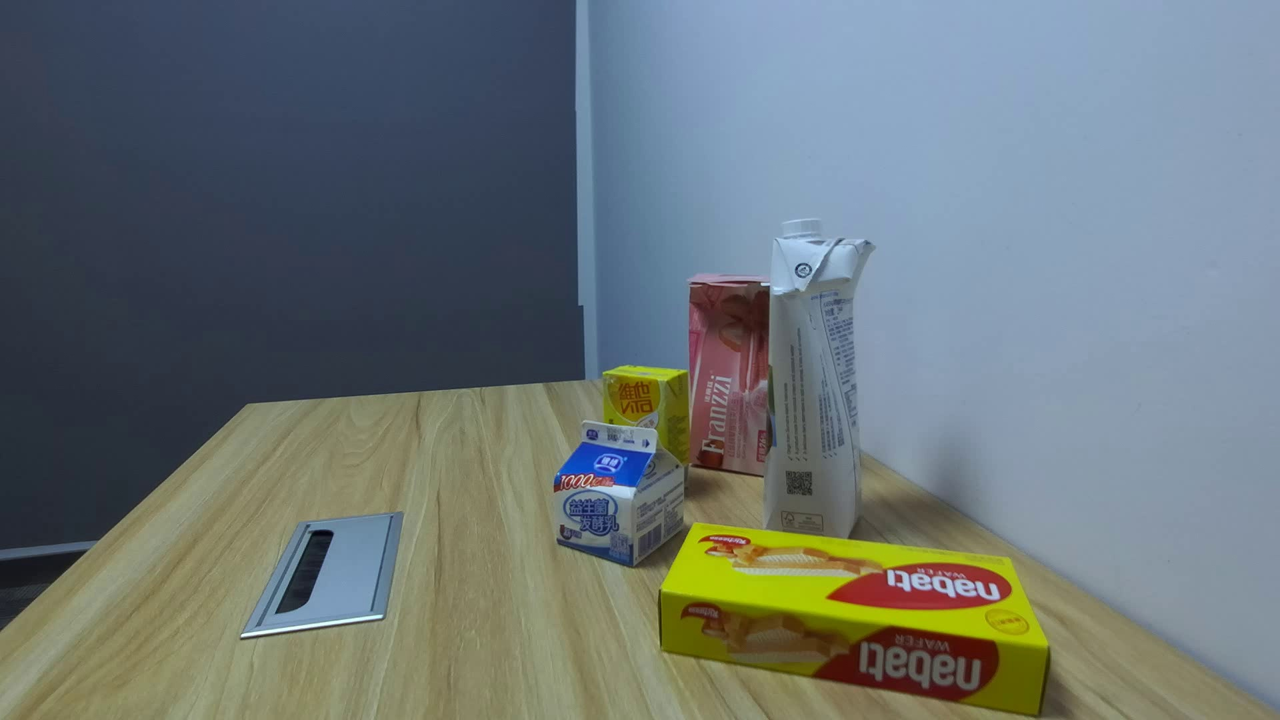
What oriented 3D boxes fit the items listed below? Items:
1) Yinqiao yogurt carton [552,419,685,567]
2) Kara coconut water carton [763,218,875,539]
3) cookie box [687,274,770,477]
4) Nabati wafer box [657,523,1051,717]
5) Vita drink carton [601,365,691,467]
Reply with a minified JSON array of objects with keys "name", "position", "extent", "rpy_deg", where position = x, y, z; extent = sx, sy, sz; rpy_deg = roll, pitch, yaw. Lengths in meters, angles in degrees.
[{"name":"Yinqiao yogurt carton","position":[-0.015,0.091,0.533],"extent":[0.075,0.092,0.074],"rpy_deg":[6,16,34]},{"name":"Kara coconut water carton","position":[0.135,0.014,0.534],"extent":[0.069,0.238,0.115],"rpy_deg":[5,14,26]},{"name":"cookie box","position":[0.094,0.014,0.669],"extent":[0.118,0.184,0.055],"rpy_deg":[4,11,24]},{"name":"Nabati wafer box","position":[0.118,0.143,0.416],"extent":[0.202,0.042,0.093],"rpy_deg":[3,13,17]},{"name":"Vita drink carton","position":[0.003,0.062,0.623],"extent":[0.076,0.109,0.043],"rpy_deg":[6,14,29]}]
